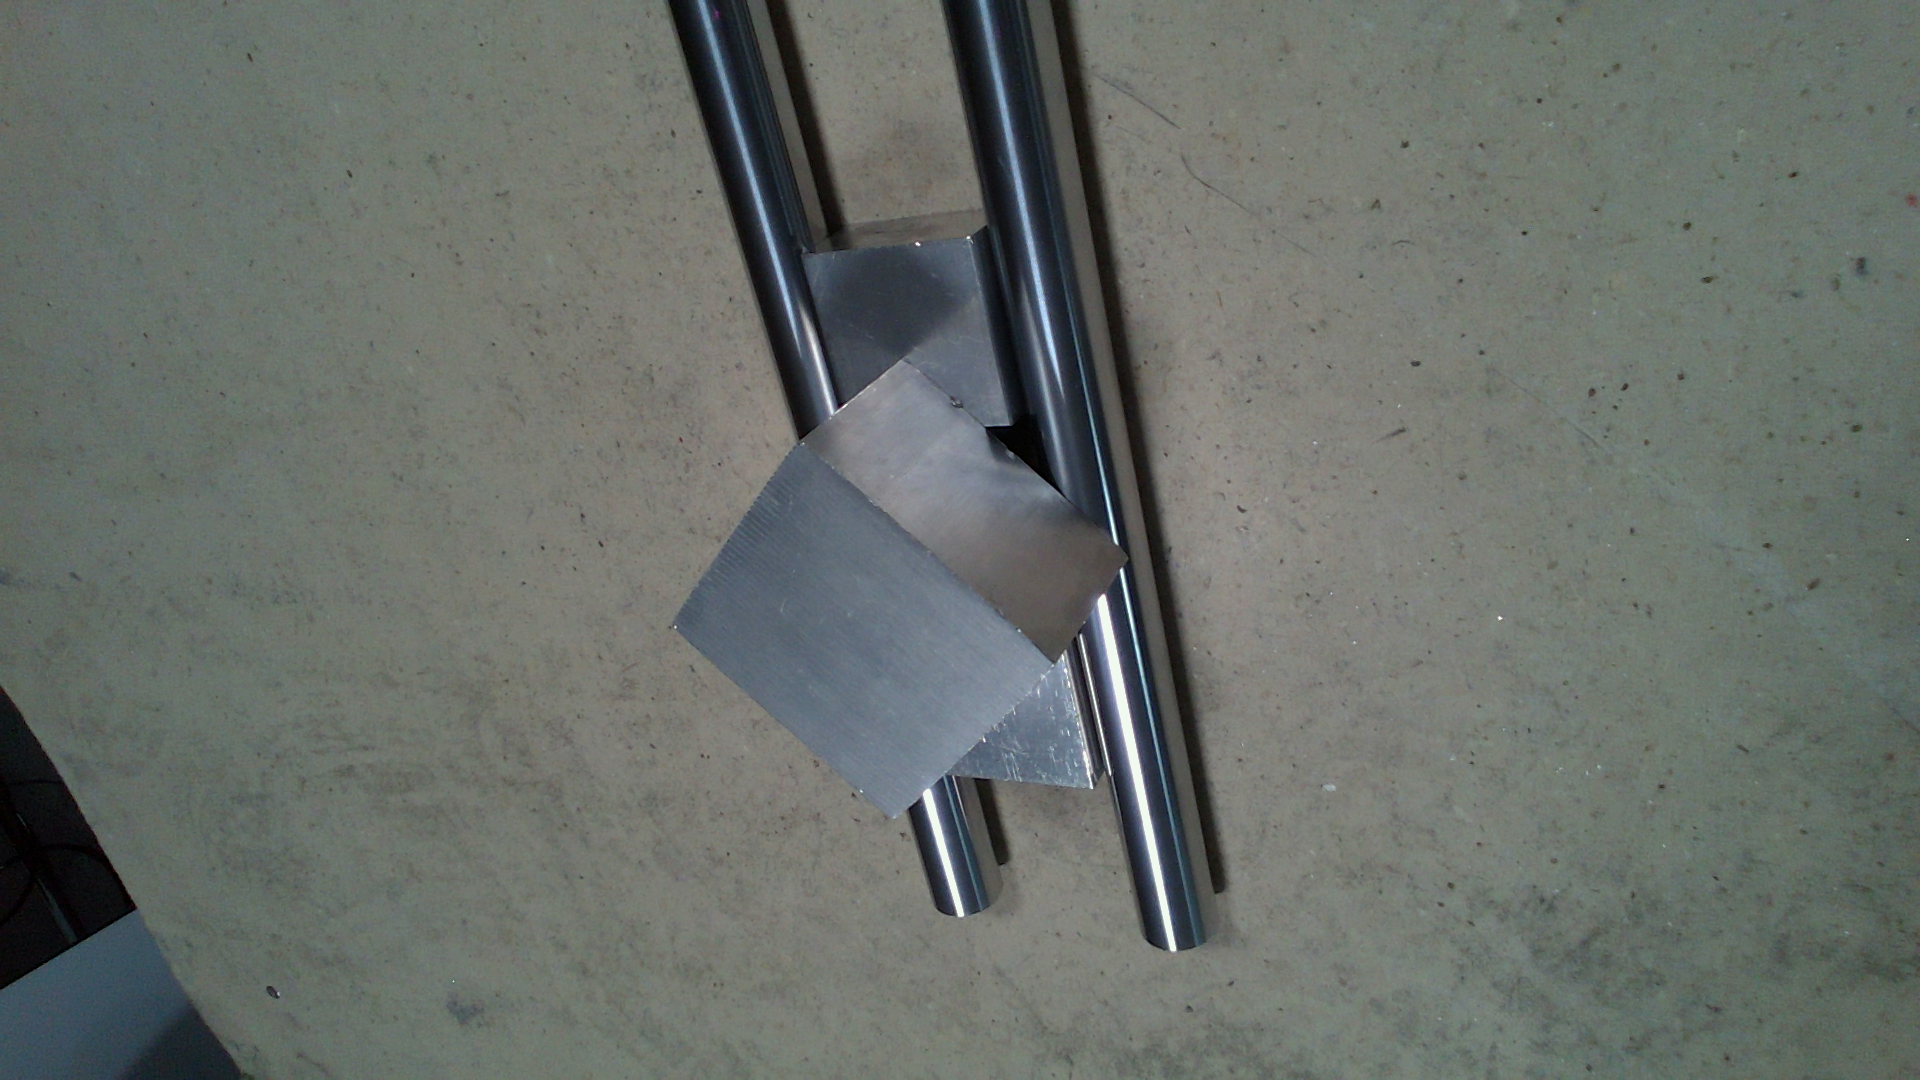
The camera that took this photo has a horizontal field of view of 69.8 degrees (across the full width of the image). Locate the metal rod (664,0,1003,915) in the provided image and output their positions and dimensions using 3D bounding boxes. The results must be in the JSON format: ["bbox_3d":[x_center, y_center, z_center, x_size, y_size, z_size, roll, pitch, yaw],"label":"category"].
[{"bbox_3d":[-0.031,-0.013,0.402,0.025,0.025,0.300,0,119,28],"label":"metal rod"}]

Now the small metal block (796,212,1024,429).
[{"bbox_3d":[-0.009,-0.057,0.362,0.050,0.025,0.050,1,119,28],"label":"small metal block"}]

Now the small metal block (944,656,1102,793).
[{"bbox_3d":[0.016,0.045,0.411,0.050,0.025,0.050,1,119,28],"label":"small metal block"}]

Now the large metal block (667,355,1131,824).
[{"bbox_3d":[-0.017,0.014,0.360,0.080,0.050,0.080,41,129,0],"label":"large metal block"}]

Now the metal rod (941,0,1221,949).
[{"bbox_3d":[0.036,-0.013,0.367,0.025,0.025,0.300,0,119,28],"label":"metal rod"}]
